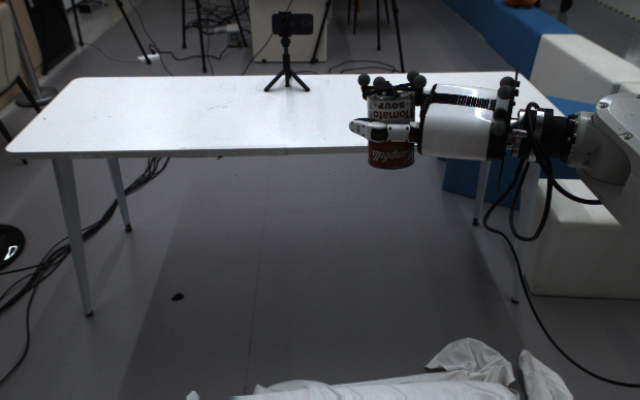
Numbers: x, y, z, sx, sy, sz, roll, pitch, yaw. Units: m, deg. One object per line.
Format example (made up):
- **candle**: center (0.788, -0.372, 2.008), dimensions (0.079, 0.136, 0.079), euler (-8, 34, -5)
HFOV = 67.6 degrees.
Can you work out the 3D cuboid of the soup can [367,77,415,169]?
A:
- **soup can**: center (0.102, -0.103, 0.683), dimensions (0.067, 0.101, 0.067), euler (-4, 25, 2)
